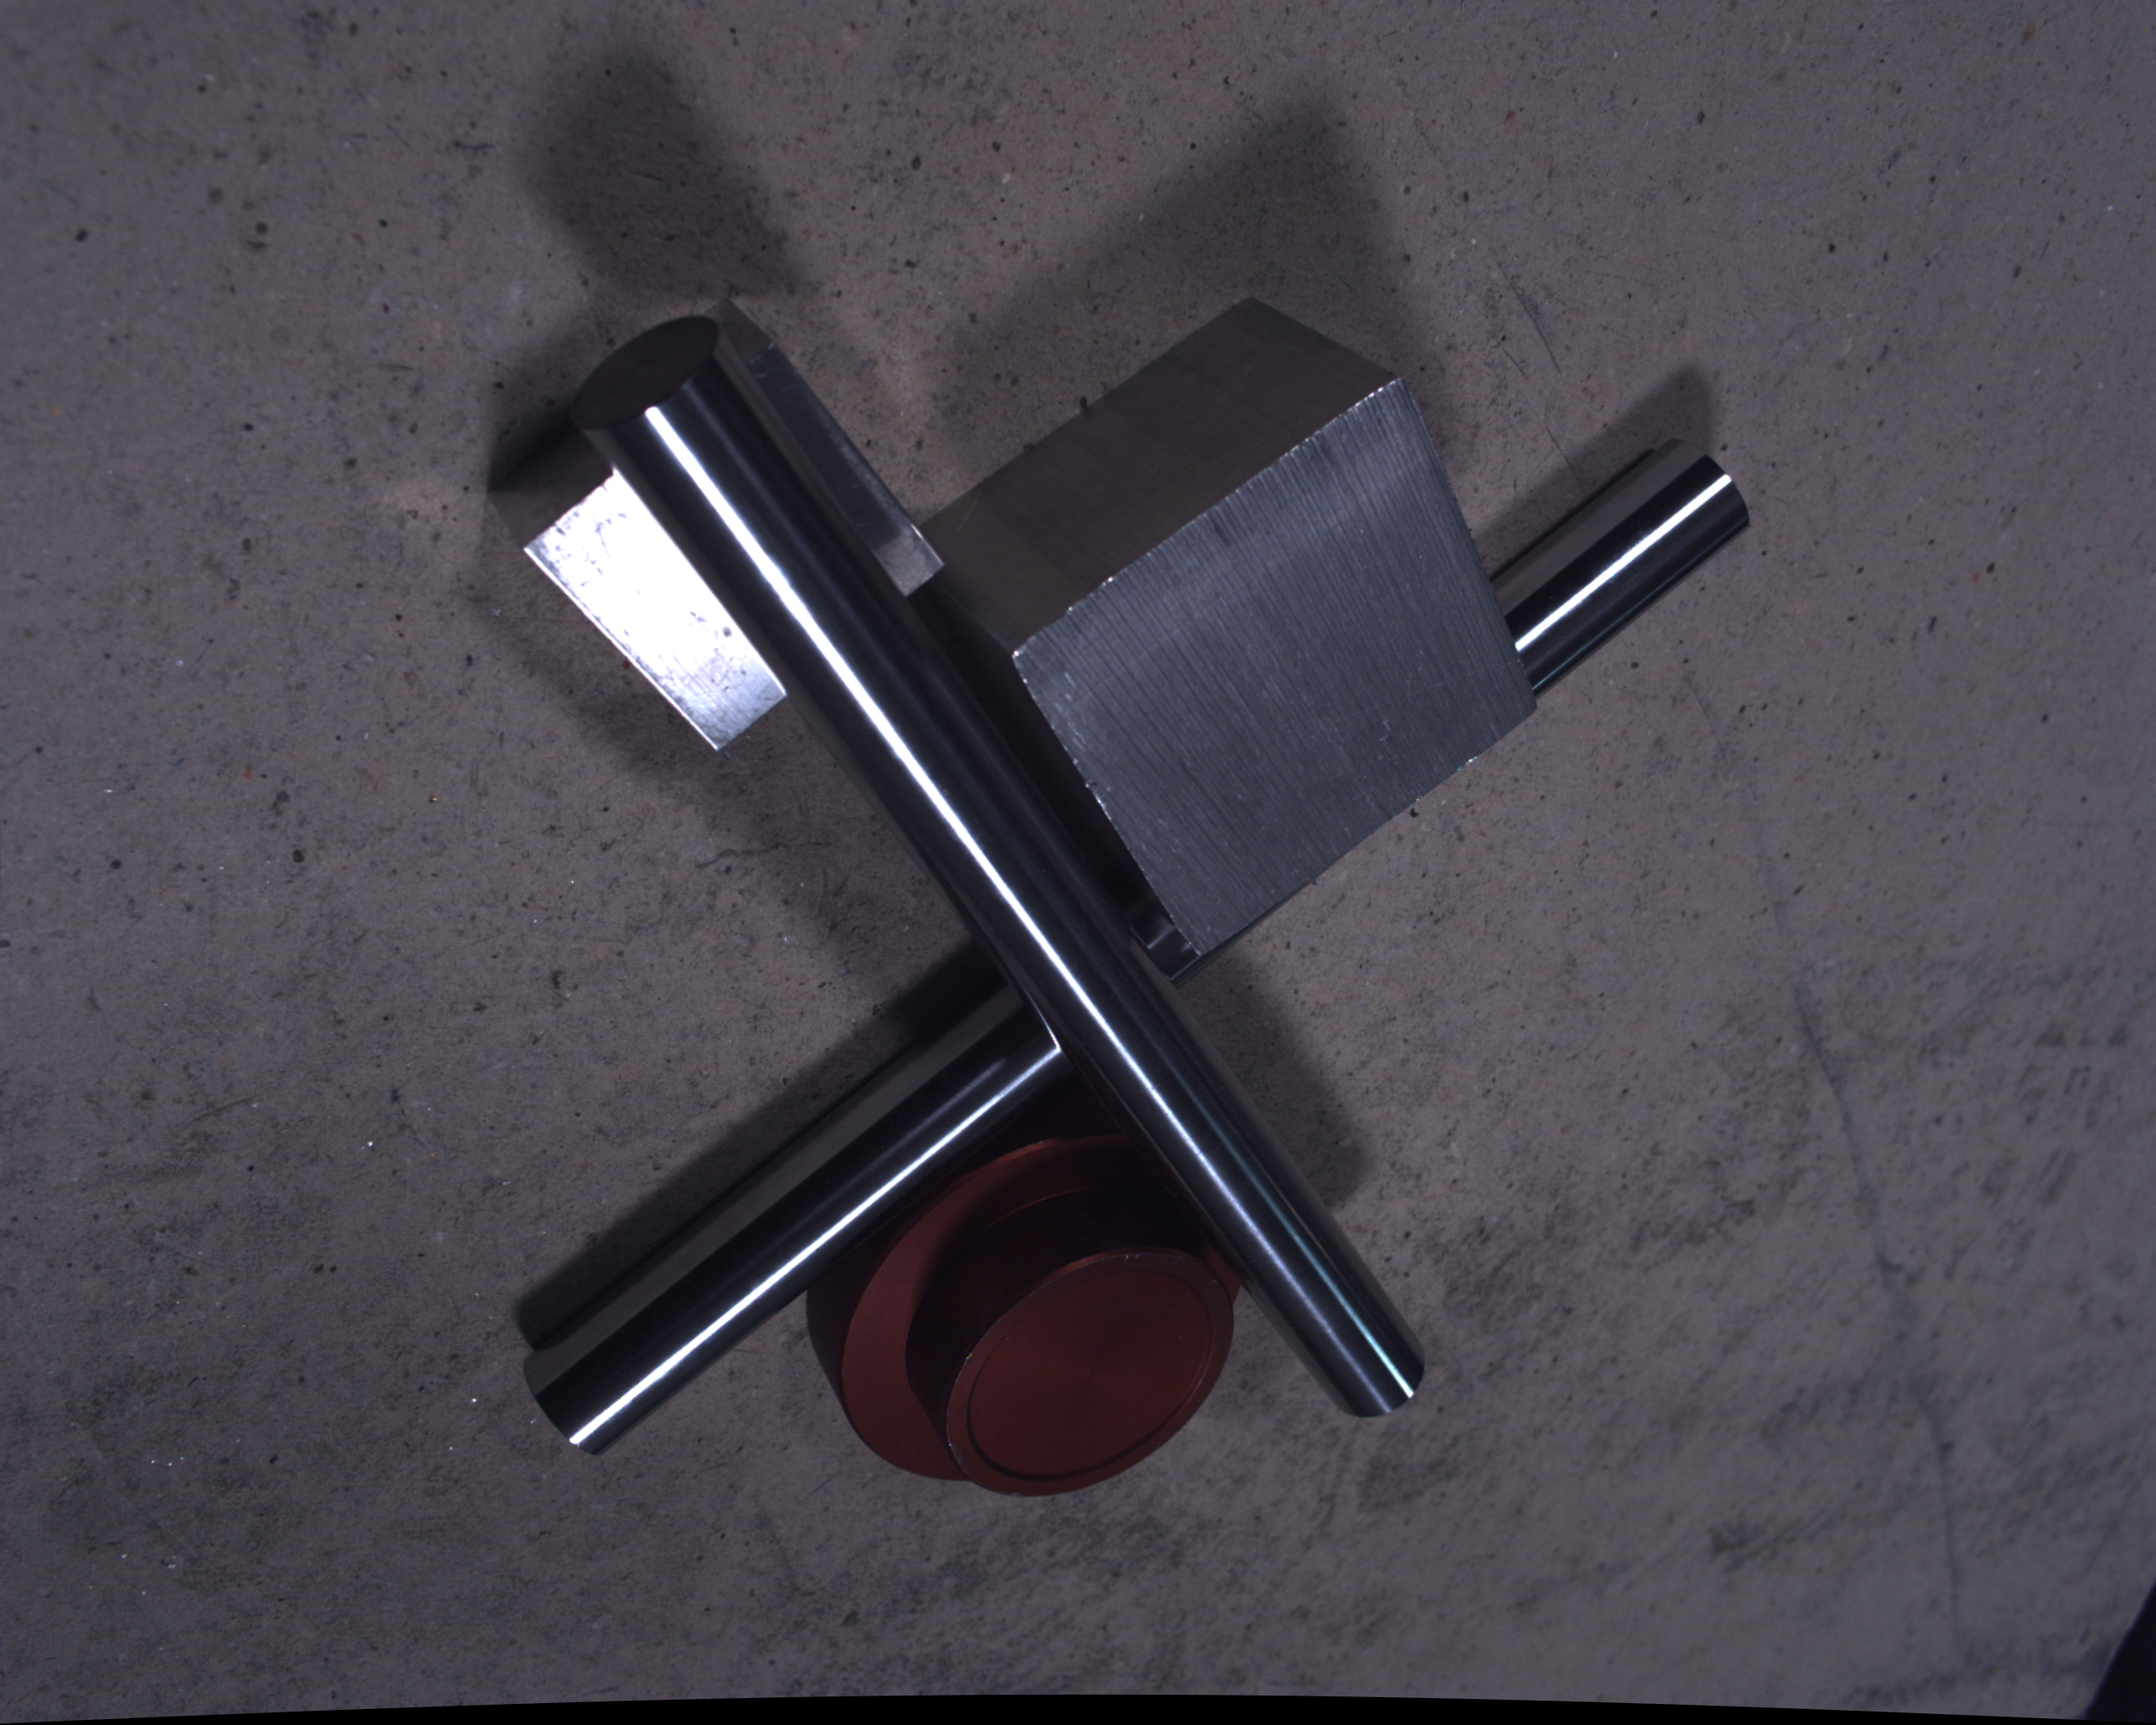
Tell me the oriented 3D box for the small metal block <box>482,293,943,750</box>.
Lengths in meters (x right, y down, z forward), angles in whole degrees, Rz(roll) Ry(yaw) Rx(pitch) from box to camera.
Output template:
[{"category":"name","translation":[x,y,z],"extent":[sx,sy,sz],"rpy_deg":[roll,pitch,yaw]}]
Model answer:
[{"category":"small metal block","translation":[-0.060,-0.056,0.344],"extent":[0.050,0.025,0.050],"rpy_deg":[-40,130,-1]}]

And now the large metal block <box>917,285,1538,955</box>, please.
[{"category":"large metal block","translation":[0.027,-0.044,0.383],"extent":[0.080,0.050,0.080],"rpy_deg":[-36,130,-5]}]

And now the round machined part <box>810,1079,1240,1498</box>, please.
[{"category":"round machined part","translation":[-0.005,0.099,0.457],"extent":[0.099,0.042,0.097],"rpy_deg":[-14,125,-21]}]

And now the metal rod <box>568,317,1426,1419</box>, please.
[{"category":"metal rod","translation":[0.004,0.025,0.394],"extent":[0.025,0.025,0.300],"rpy_deg":[-38,130,-3]}]

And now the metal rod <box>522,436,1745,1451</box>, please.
[{"category":"metal rod","translation":[0.013,0.015,0.428],"extent":[0.301,0.025,0.025],"rpy_deg":[-39,130,-2]}]
